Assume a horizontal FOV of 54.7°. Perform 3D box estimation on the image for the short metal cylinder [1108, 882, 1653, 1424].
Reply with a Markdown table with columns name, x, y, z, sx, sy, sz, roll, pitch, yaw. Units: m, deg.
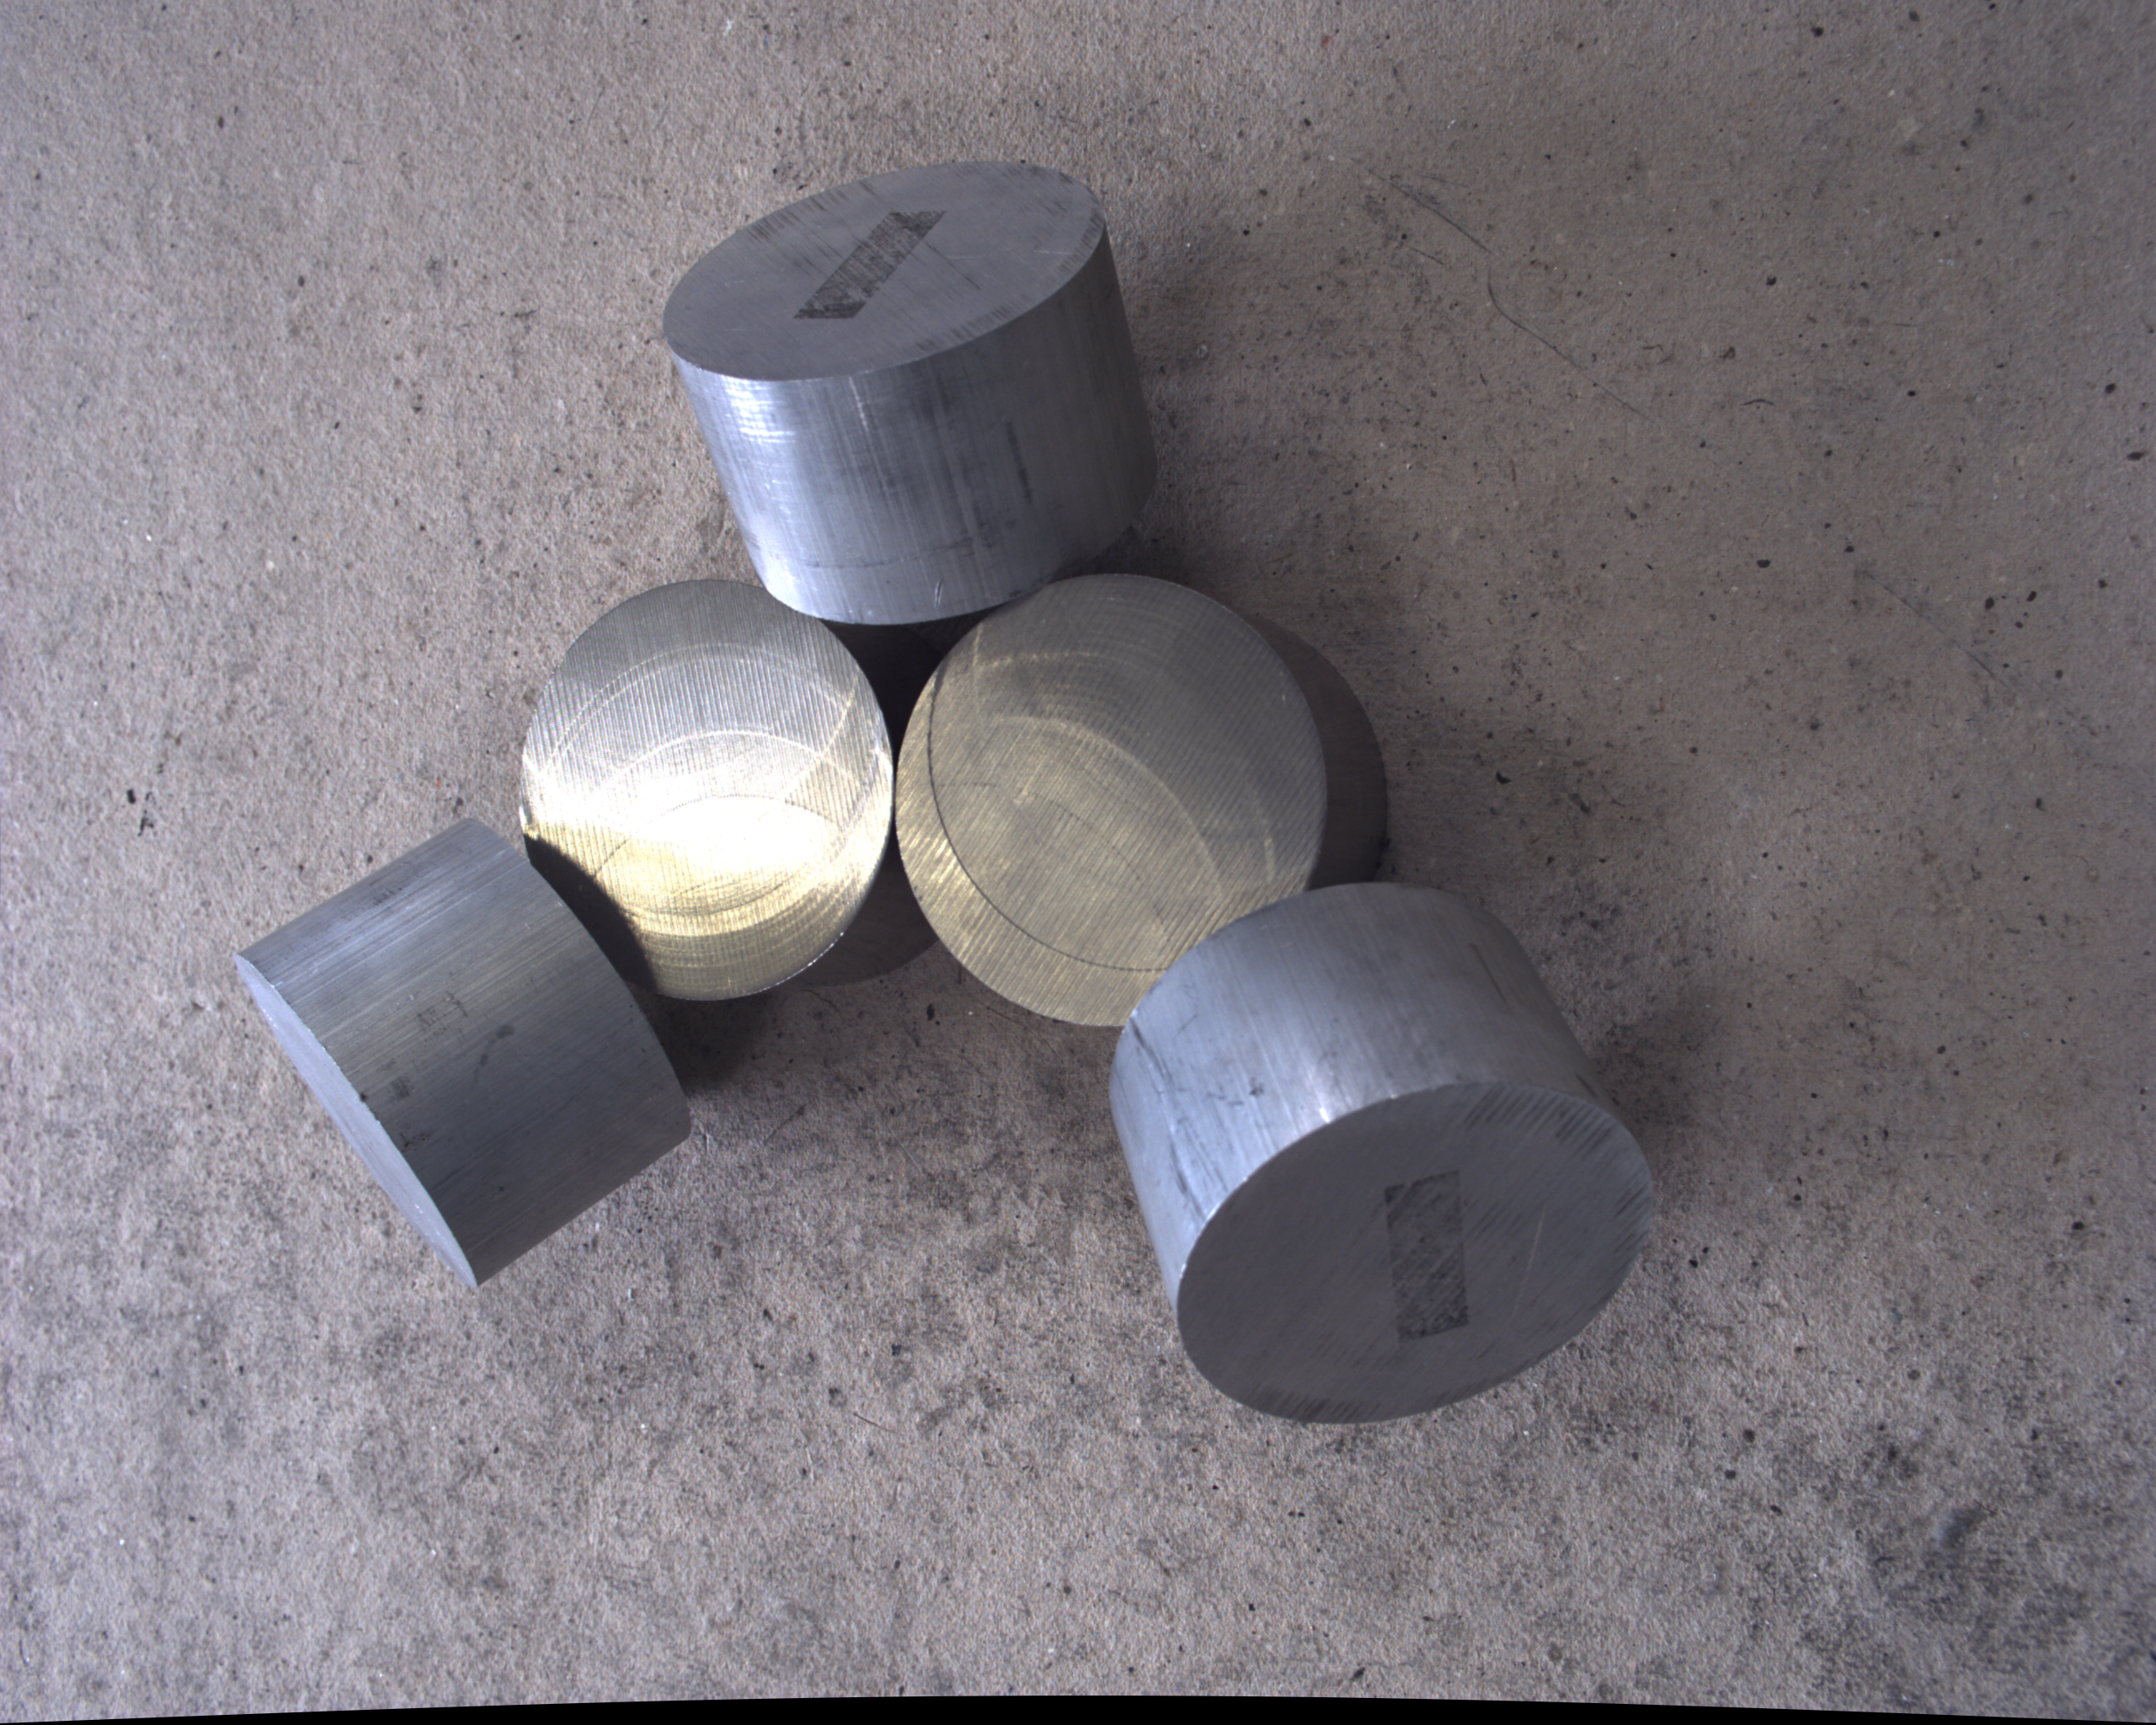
| name | x | y | z | sx | sy | sz | roll | pitch | yaw |
| --- | --- | --- | --- | --- | --- | --- | --- | --- | --- |
| short metal cylinder | 0.050 | 0.050 | 0.357 | 0.080 | 0.080 | 0.050 | -39 | 36 | 16 |

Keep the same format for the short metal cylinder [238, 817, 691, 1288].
| name | x | y | z | sx | sy | sz | roll | pitch | yaw |
| --- | --- | --- | --- | --- | --- | --- | --- | --- | --- |
| short metal cylinder | -0.123 | 0.038 | 0.418 | 0.050 | 0.080 | 0.080 | -36 | 75 | -24 |

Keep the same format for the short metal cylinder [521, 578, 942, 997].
| name | x | y | z | sx | sy | sz | roll | pitch | yaw |
| --- | --- | --- | --- | --- | --- | --- | --- | --- | --- |
| short metal cylinder | -0.063 | -0.014 | 0.419 | 0.080 | 0.050 | 0.080 | 0 | 90 | 20 |

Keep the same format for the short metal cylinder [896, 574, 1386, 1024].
| name | x | y | z | sx | sy | sz | roll | pitch | yaw |
| --- | --- | --- | --- | --- | --- | --- | --- | --- | --- |
| short metal cylinder | 0.013 | -0.011 | 0.392 | 0.080 | 0.050 | 0.080 | 0 | 90 | 20 |

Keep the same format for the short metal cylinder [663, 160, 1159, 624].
| name | x | y | z | sx | sy | sz | roll | pitch | yaw |
| --- | --- | --- | --- | --- | --- | --- | --- | --- | --- |
| short metal cylinder | -0.029 | -0.088 | 0.385 | 0.080 | 0.080 | 0.050 | 2 | 133 | 20 |
